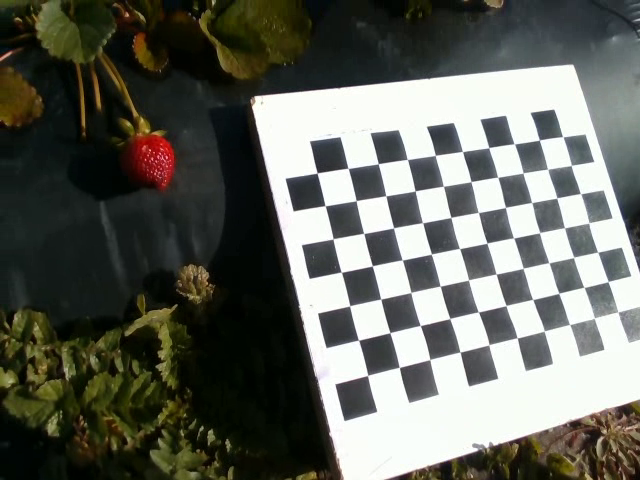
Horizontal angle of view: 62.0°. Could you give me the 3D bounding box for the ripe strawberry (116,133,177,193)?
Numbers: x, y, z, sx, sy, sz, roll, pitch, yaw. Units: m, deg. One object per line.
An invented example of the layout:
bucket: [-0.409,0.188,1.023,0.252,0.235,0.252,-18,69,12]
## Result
ripe strawberry: [-0.106,-0.045,0.337,0.040,0.044,0.037,-30,-16,-18]
